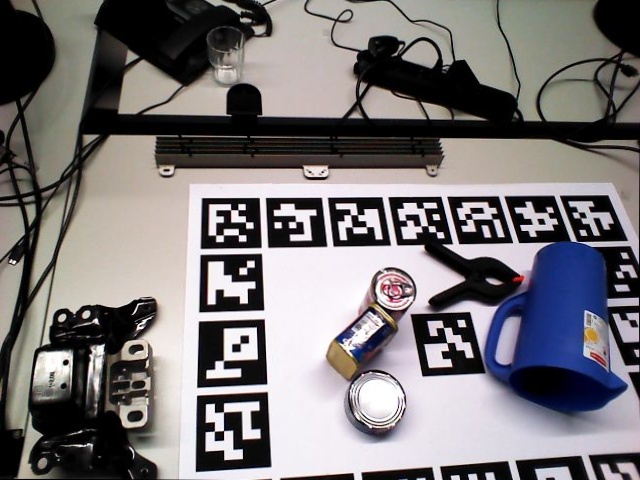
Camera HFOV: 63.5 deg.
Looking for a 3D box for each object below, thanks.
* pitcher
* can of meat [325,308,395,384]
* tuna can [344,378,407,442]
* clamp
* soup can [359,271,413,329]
[{"bbox_3d":[0.371,0.127,0.776,0.190,0.133,0.241,5,50,22],"label":"pitcher"},{"bbox_3d":[0.057,0.156,0.745,0.083,0.102,0.058,-36,71,-19],"label":"can of meat"},{"bbox_3d":[0.078,0.243,0.740,0.086,0.034,0.085,2,62,-5],"label":"tuna can"},{"bbox_3d":[0.245,0.064,0.869,0.165,0.037,0.121,2,56,-9],"label":"clamp"},{"bbox_3d":[0.098,0.097,0.788,0.068,0.102,0.067,1,62,-3],"label":"soup can"}]
